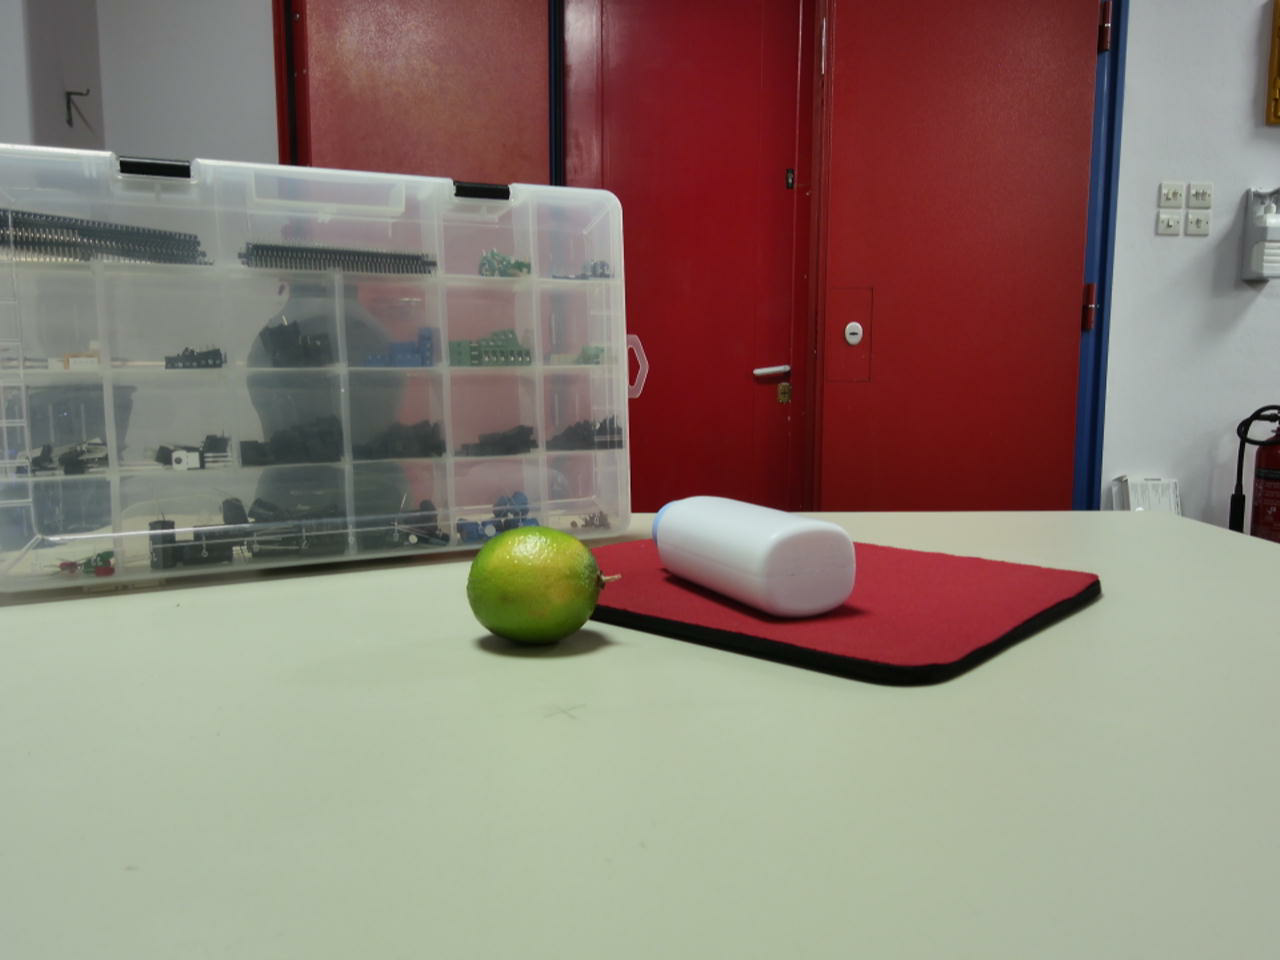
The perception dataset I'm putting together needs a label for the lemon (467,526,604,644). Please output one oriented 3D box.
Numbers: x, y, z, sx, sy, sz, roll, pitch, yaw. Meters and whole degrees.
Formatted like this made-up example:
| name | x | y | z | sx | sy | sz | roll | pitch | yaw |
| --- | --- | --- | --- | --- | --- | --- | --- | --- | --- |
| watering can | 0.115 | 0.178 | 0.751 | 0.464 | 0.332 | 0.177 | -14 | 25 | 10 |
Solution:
| name | x | y | z | sx | sy | sz | roll | pitch | yaw |
| --- | --- | --- | --- | --- | --- | --- | --- | --- | --- |
| lemon | -0.046 | 0.045 | 0.436 | 0.054 | 0.050 | 0.055 | -5 | 6 | -41 |
